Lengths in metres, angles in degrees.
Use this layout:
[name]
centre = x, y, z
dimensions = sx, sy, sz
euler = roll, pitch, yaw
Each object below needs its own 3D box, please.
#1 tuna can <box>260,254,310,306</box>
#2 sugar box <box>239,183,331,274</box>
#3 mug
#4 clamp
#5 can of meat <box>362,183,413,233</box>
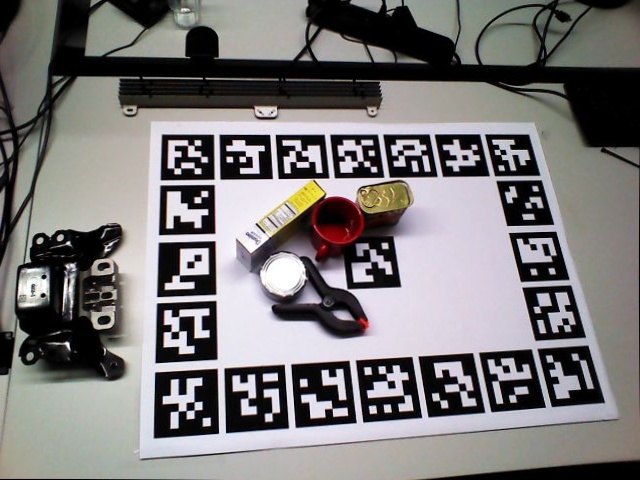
[tuna can]
centre = -0.061, 0.070, 0.896
dimensions = 0.086, 0.034, 0.085
euler = 2, 70, -7
[sugar box]
centre = -0.062, -0.020, 0.906
dimensions = 0.175, 0.093, 0.045
euler = -39, 77, -21
[mug]
centre = 0.031, -0.010, 0.912
dimensions = 0.093, 0.082, 0.116
euler = 22, 69, 0
[clamp]
centre = 0.019, 0.121, 0.894
dimensions = 0.165, 0.037, 0.121
euler = 32, 64, 0
[can of meat]
centre = 0.124, -0.057, 0.952
dimensions = 0.102, 0.084, 0.057
euler = -10, 69, -13
